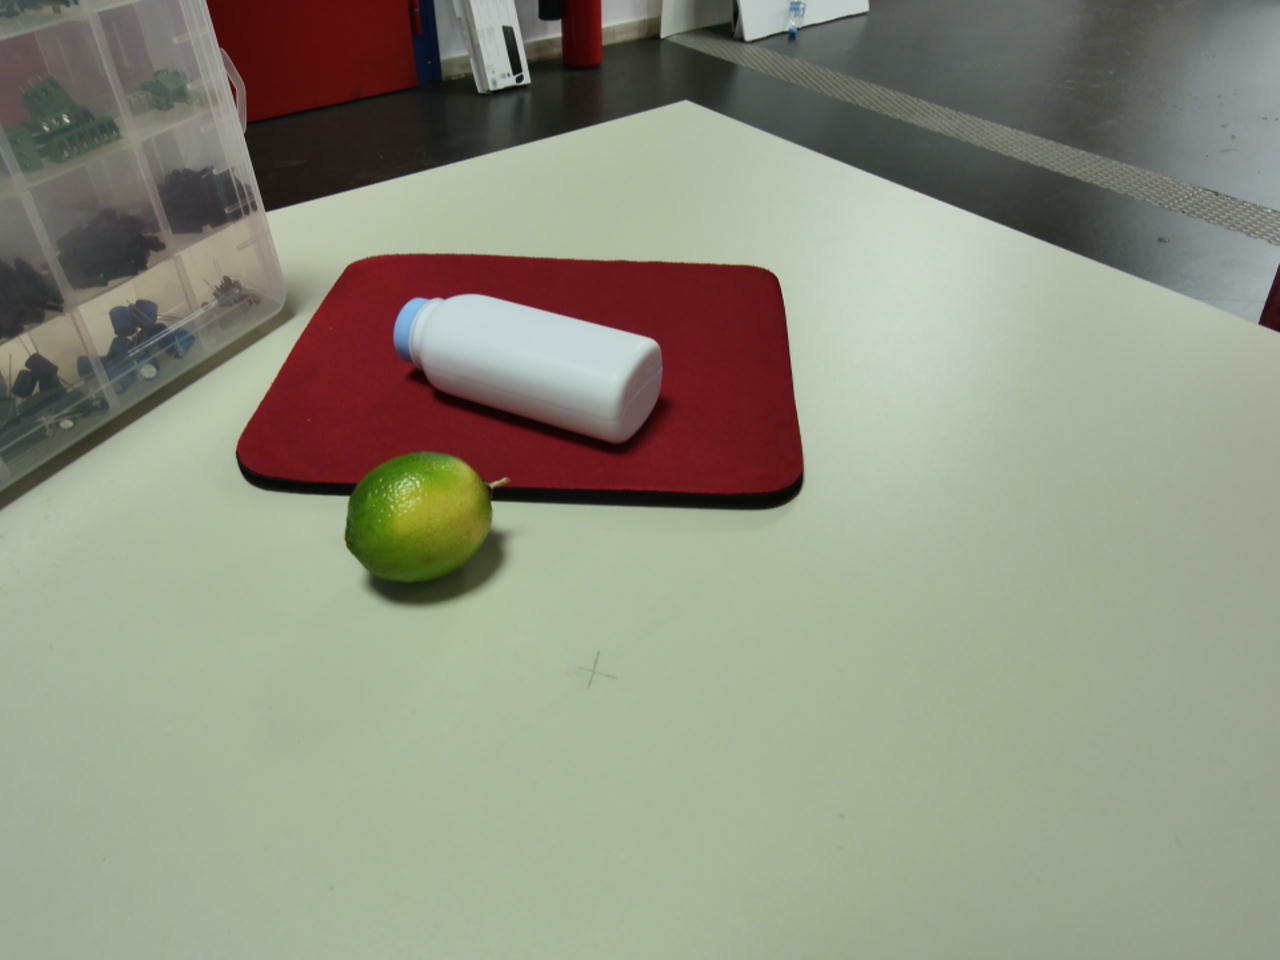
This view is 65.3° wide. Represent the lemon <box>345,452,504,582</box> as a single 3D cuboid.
[{"bbox_3d":[-0.087,0.014,0.396,0.055,0.050,0.054,6,37,8],"label":"lemon"}]
